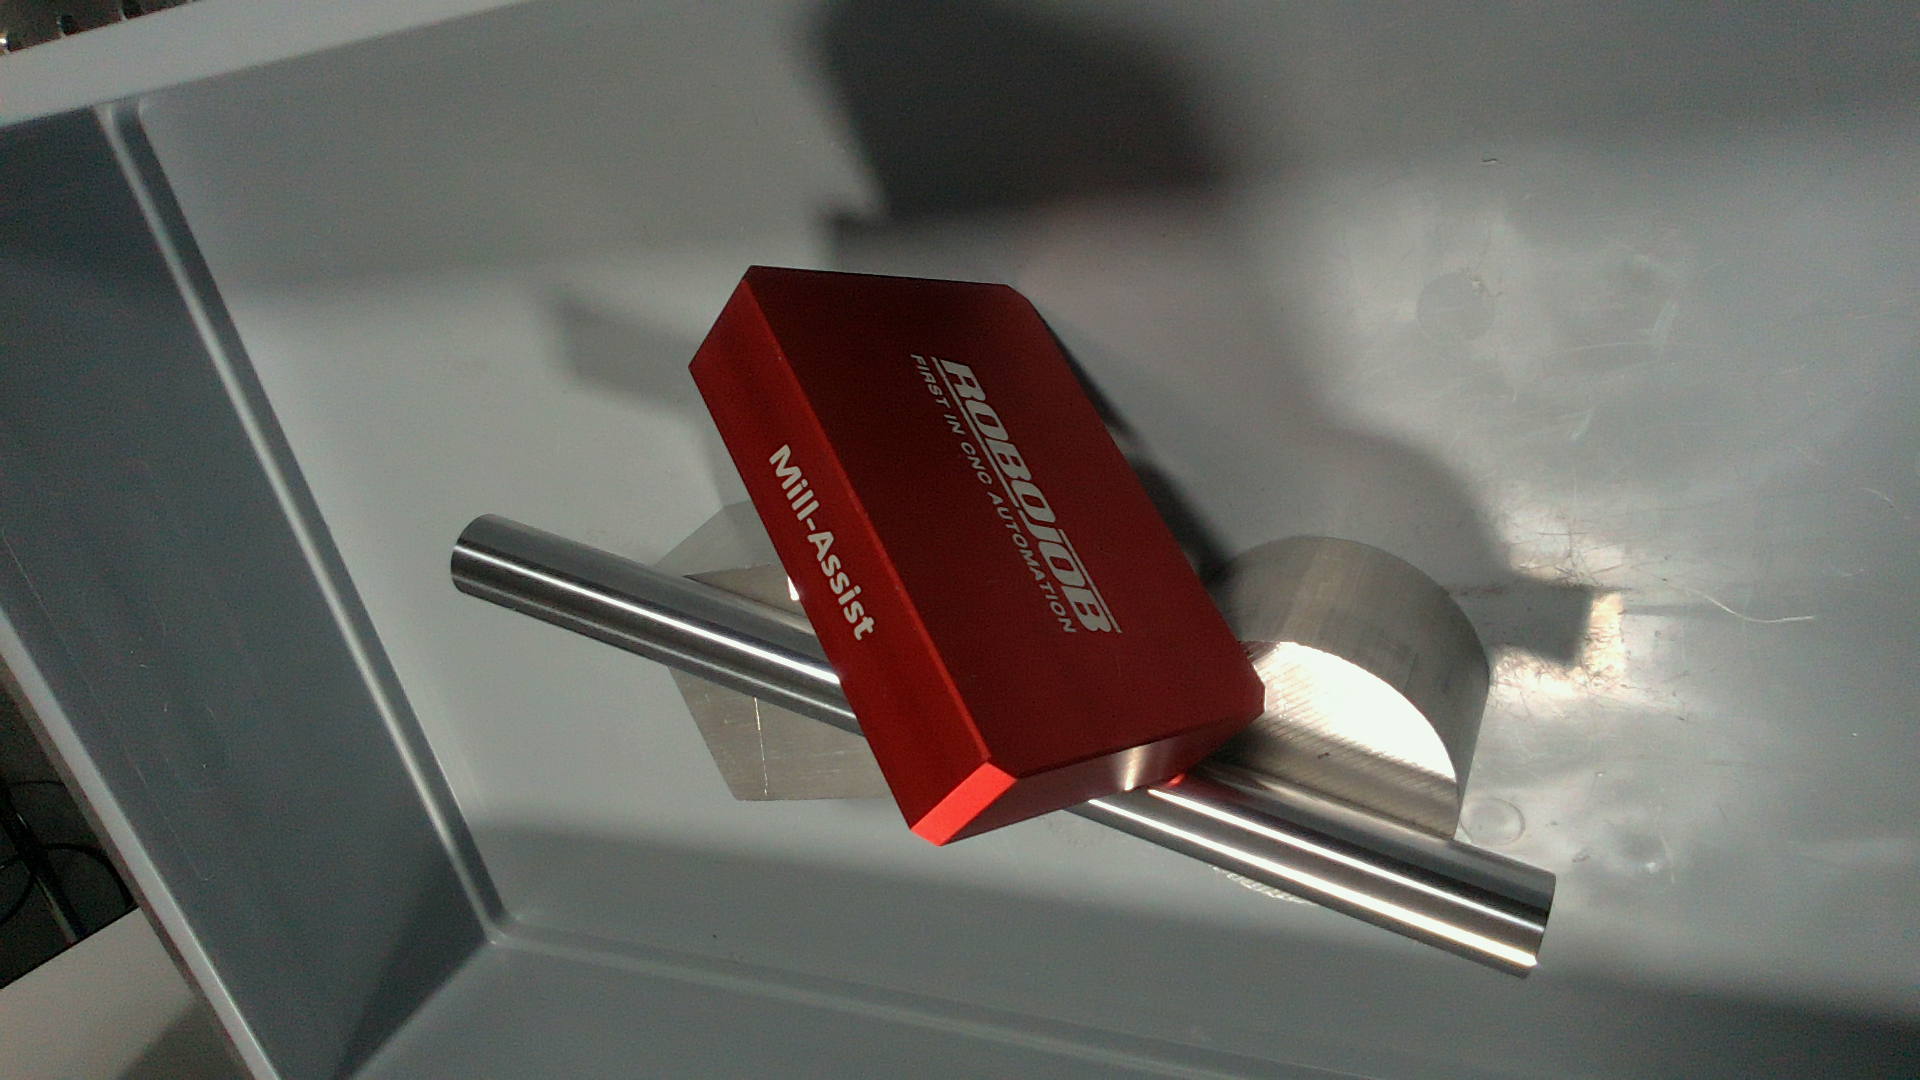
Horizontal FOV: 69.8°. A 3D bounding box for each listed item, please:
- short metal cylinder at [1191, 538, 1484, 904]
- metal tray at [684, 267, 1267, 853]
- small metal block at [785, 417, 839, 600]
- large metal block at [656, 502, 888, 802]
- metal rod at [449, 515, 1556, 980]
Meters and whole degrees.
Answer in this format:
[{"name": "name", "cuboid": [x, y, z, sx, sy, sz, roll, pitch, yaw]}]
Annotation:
[{"name": "short metal cylinder", "cuboid": [0.091, 0.046, 0.355, 0.080, 0.050, 0.080, 13, 124, 21]}, {"name": "metal tray", "cuboid": [0.003, -0.002, 0.314, 0.030, 0.090, 0.130, -48, 61, 39]}, {"name": "small metal block", "cuboid": [-0.021, -0.013, 0.351, 0.050, 0.025, 0.050, -15, 77, 6]}, {"name": "large metal block", "cuboid": [-0.041, 0.031, 0.417, 0.080, 0.050, 0.080, -8, 114, 32]}, {"name": "metal rod", "cuboid": [-0.005, 0.046, 0.357, 0.299, 0.025, 0.025, 17, 125, 19]}]
